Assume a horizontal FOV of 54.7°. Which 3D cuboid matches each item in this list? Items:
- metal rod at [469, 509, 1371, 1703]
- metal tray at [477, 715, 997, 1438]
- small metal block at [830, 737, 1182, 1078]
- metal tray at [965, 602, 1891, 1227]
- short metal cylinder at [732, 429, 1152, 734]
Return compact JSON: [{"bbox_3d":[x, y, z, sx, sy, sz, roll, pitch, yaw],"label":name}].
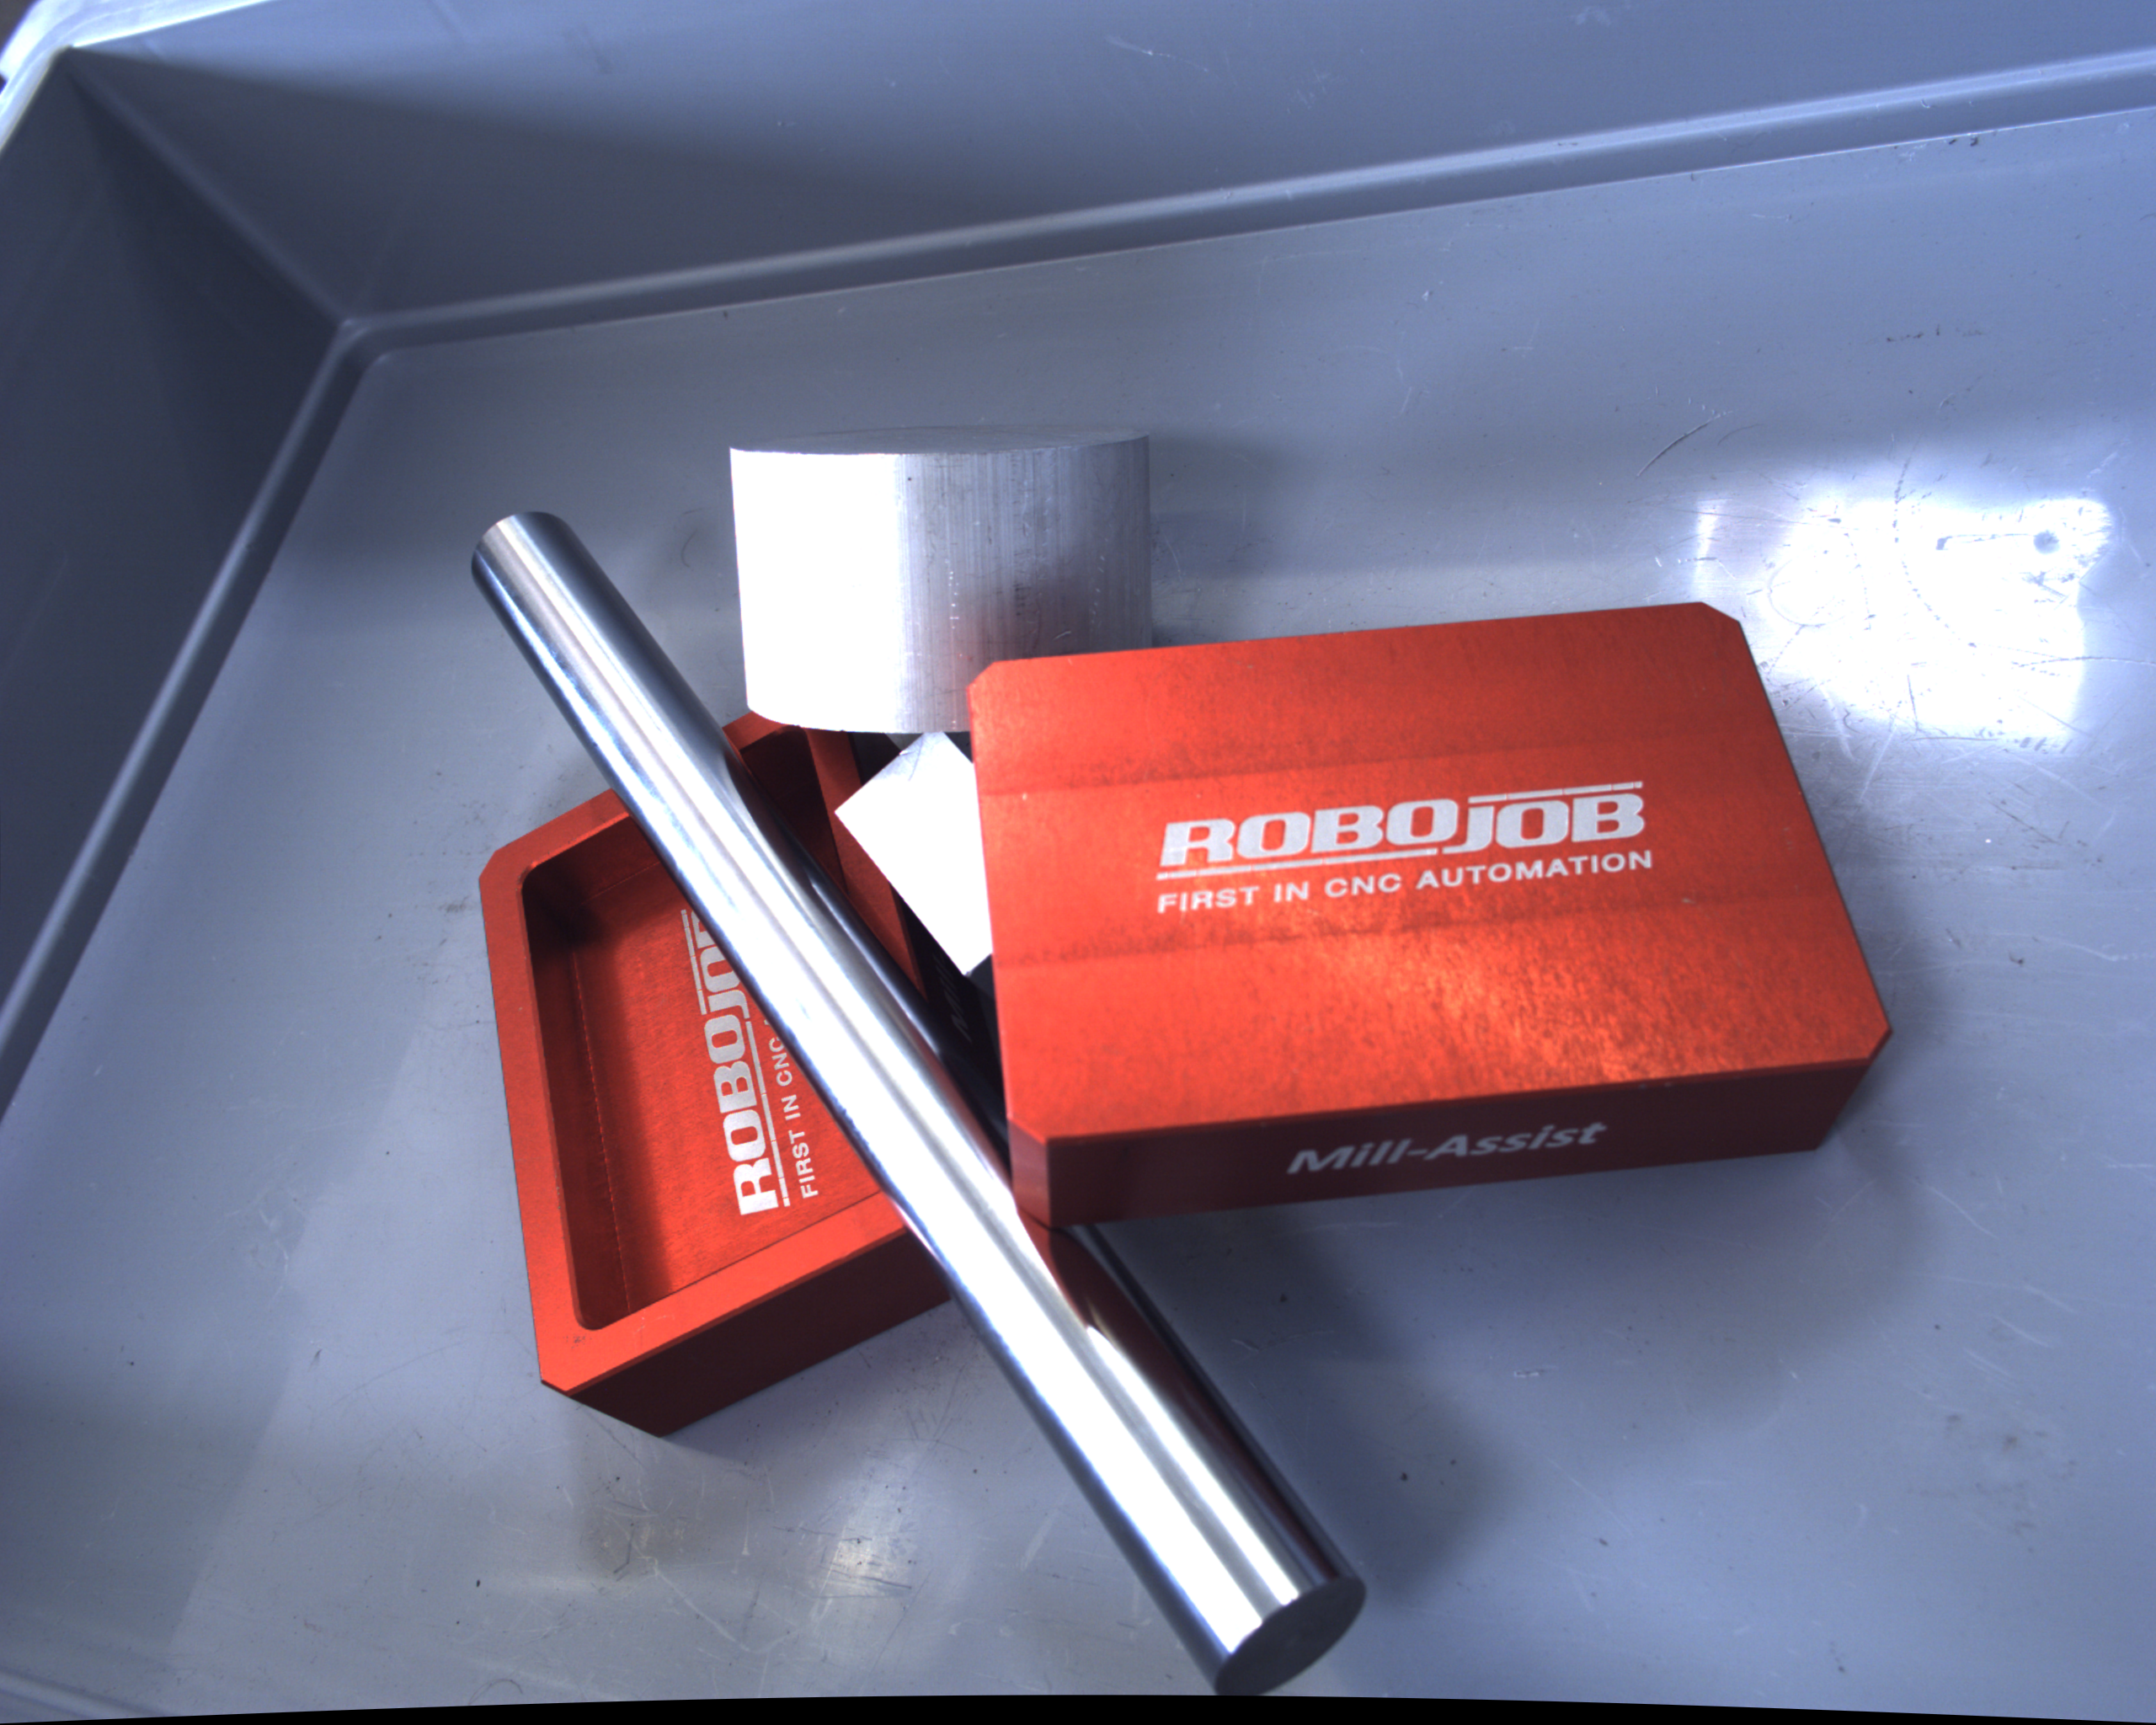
[{"bbox_3d":[-0.048,0.019,0.378,0.025,0.025,0.300,-41,51,0],"label":"metal rod"},{"bbox_3d":[-0.067,0.035,0.414,0.090,0.030,0.130,-28,52,10],"label":"metal tray"},{"bbox_3d":[-0.013,0.008,0.388,0.025,0.050,0.050,-42,51,0],"label":"small metal block"},{"bbox_3d":[0.051,0.006,0.337,0.131,0.030,0.090,-5,56,-4],"label":"metal tray"},{"bbox_3d":[-0.026,-0.058,0.409,0.080,0.081,0.050,9,108,32],"label":"short metal cylinder"}]
